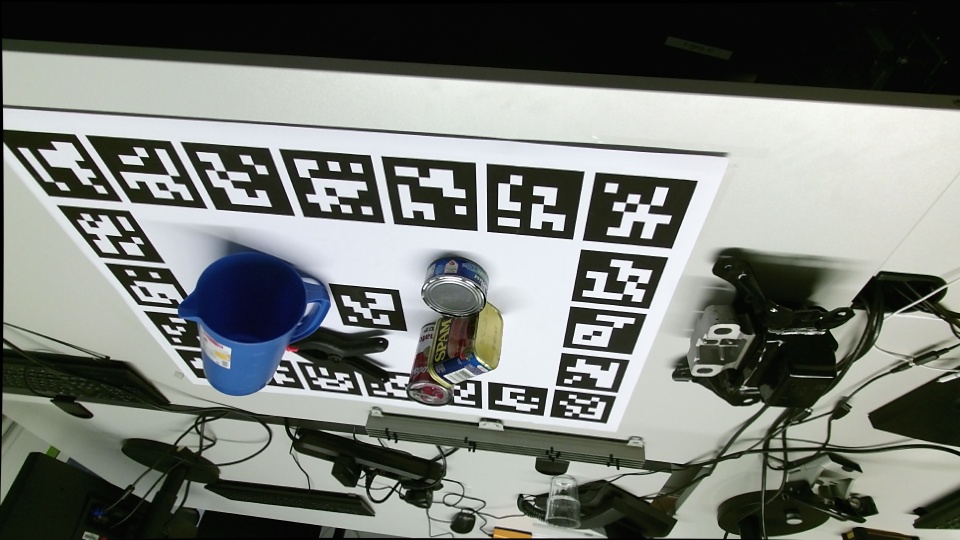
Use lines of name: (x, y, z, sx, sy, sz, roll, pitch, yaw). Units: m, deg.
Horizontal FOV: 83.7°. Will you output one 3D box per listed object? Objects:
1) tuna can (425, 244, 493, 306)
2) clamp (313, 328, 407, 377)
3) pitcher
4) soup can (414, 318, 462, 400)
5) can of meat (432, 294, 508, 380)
tuna can: (-0.026, 0.007, 0.702, 0.086, 0.033, 0.086, 5, 135, 5)
clamp: (-0.206, 0.128, 0.878, 0.166, 0.036, 0.122, 8, 141, 6)
pitcher: (-0.328, 0.087, 0.767, 0.189, 0.132, 0.243, 2, 149, -24)
soup can: (-0.056, 0.130, 0.792, 0.068, 0.101, 0.068, 3, 135, 3)
can of meat: (-0.011, 0.090, 0.735, 0.084, 0.101, 0.058, -26, 126, 28)
